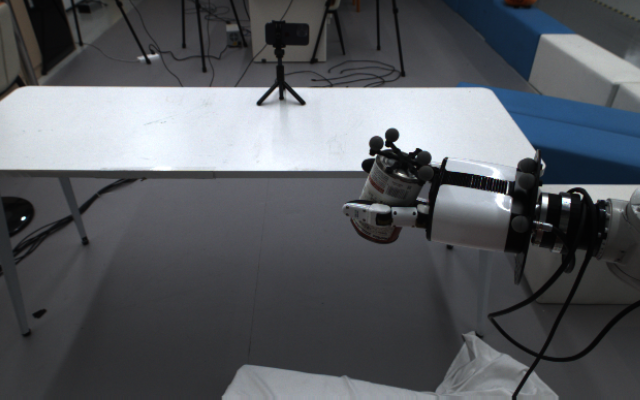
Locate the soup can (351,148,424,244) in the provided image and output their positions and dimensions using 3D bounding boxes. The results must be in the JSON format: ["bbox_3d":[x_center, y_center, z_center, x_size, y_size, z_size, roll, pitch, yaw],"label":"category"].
[{"bbox_3d":[0.088,-0.004,0.612,0.067,0.101,0.067,13,35,-9],"label":"soup can"}]
